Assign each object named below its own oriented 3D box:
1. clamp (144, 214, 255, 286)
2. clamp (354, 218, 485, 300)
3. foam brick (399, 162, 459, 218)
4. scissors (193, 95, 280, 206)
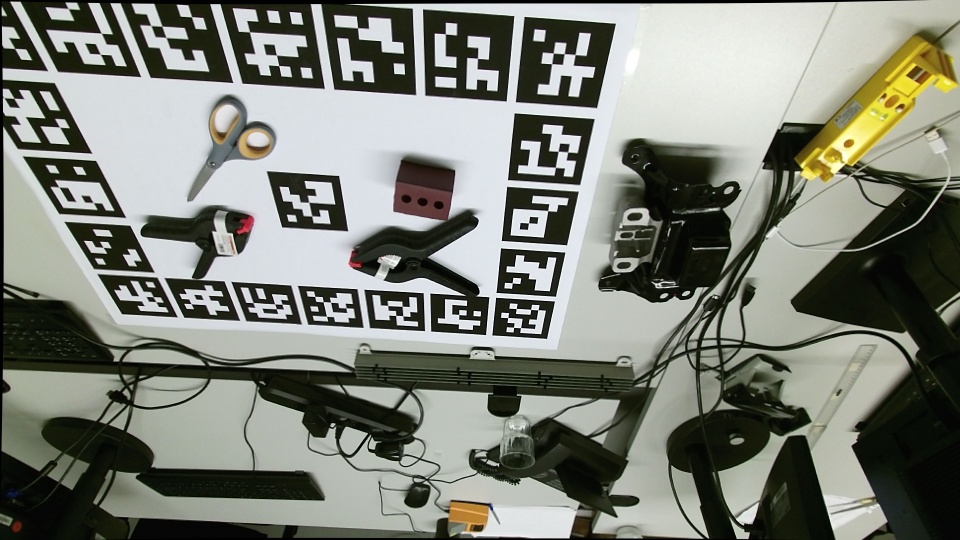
[{"bbox_3d":[-0.422,-0.041,0.835,0.165,0.036,0.122,-19,121,17],"label":"clamp"},{"bbox_3d":[-0.096,-0.014,0.842,0.203,0.036,0.165,1,134,3],"label":"clamp"},{"bbox_3d":[-0.072,-0.112,0.748,0.078,0.051,0.053,6,130,-9],"label":"foam brick"},{"bbox_3d":[-0.352,-0.148,0.742,0.088,0.016,0.203,39,124,-19],"label":"scissors"}]
